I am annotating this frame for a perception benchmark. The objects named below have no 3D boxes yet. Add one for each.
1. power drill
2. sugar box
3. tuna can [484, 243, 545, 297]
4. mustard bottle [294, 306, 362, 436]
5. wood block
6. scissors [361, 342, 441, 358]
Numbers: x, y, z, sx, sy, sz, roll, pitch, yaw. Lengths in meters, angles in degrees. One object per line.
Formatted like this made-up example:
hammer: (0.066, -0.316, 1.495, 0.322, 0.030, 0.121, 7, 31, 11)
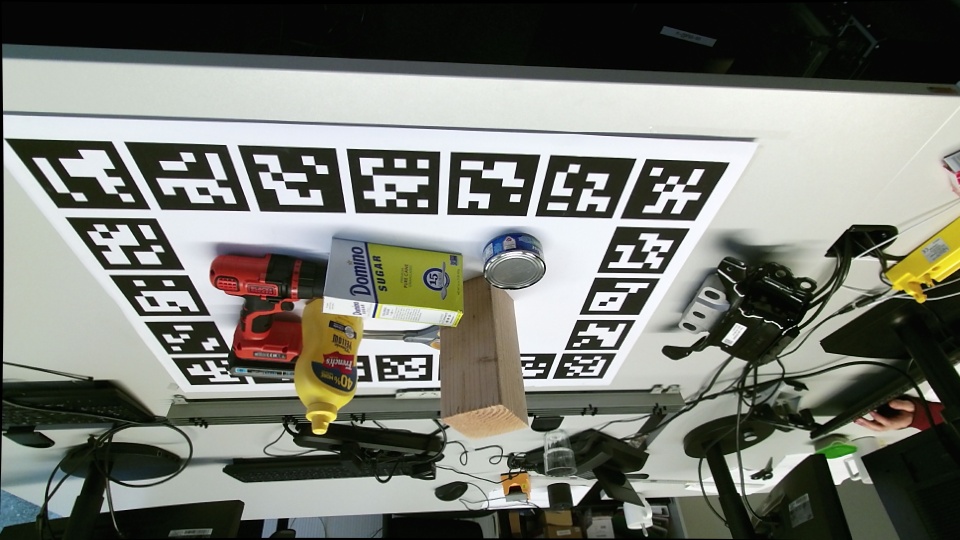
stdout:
power drill: (-0.267, 0.070, 0.768, 0.185, 0.057, 0.187, 9, 130, -17)
sugar box: (-0.116, 0.025, 0.709, 0.177, 0.092, 0.045, 10, 140, -14)
tuna can: (0.048, 0.002, 0.738, 0.086, 0.033, 0.086, -3, 138, -2)
mustard bottle: (-0.220, 0.147, 0.773, 0.058, 0.190, 0.096, -28, 133, 23)
wood block: (0.003, 0.128, 0.766, 0.091, 0.205, 0.090, -19, 136, 15)
scissors: (-0.093, 0.130, 0.887, 0.204, 0.016, 0.088, 2, 142, -8)
